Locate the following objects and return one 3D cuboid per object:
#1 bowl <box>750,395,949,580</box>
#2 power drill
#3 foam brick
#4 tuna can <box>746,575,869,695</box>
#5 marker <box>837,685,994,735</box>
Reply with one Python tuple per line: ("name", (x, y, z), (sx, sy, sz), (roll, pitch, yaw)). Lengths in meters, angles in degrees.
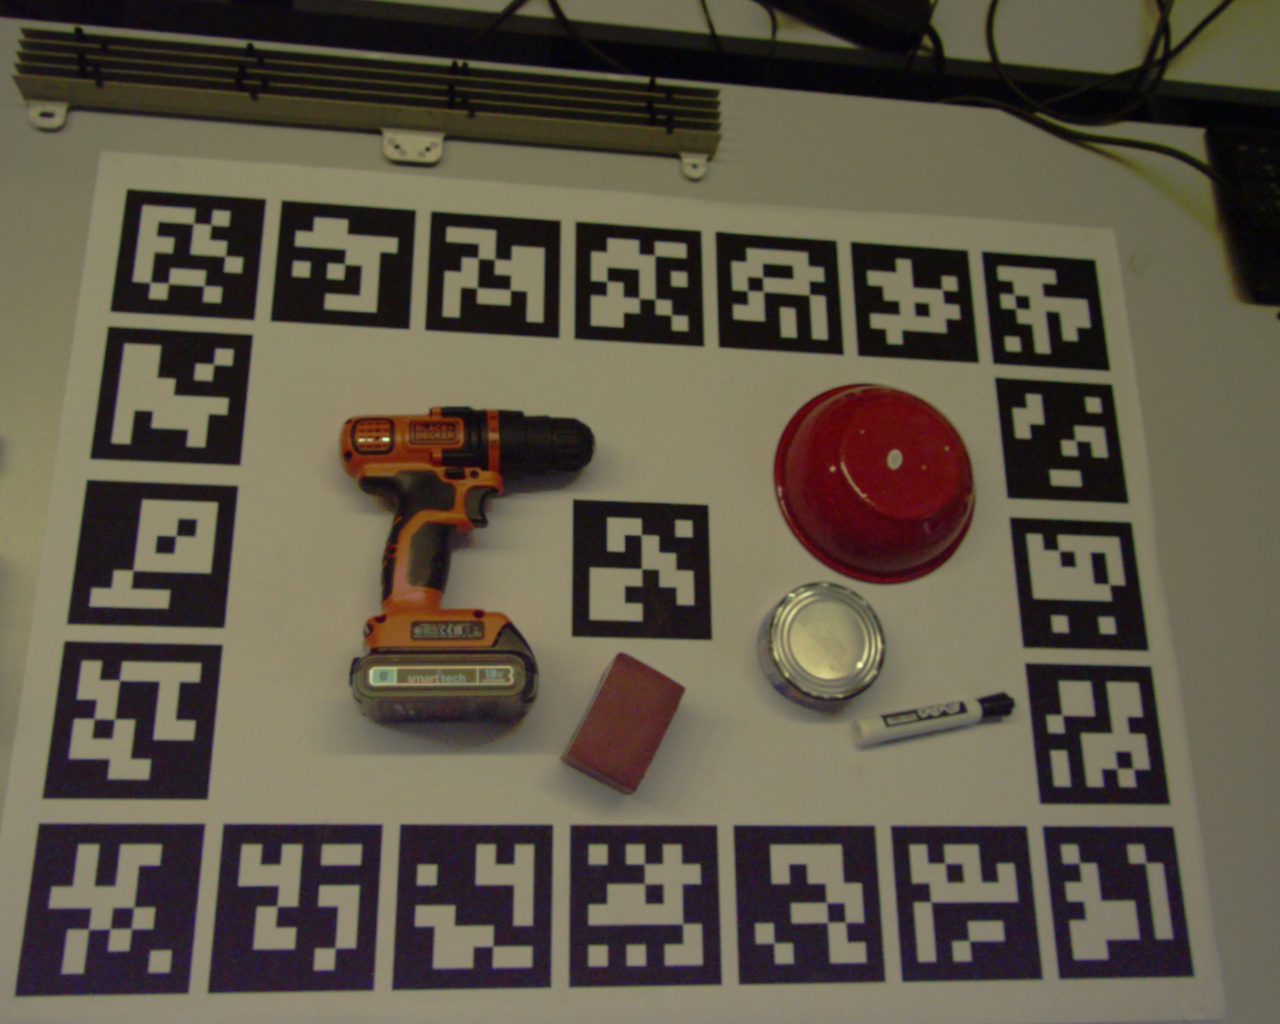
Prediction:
("bowl", (0.170, -0.031, 0.886), (0.161, 0.055, 0.162), (2, 67, -5))
("power drill", (-0.133, 0.032, 0.814), (0.183, 0.057, 0.187), (2, 71, -12))
("foam brick", (-0.019, 0.145, 0.804), (0.051, 0.053, 0.078), (26, 73, -3))
("tuna can", (0.123, 0.092, 0.843), (0.085, 0.034, 0.086), (3, 74, -11))
("marker", (0.206, 0.146, 0.846), (0.120, 0.020, 0.020), (-8, 77, -11))
